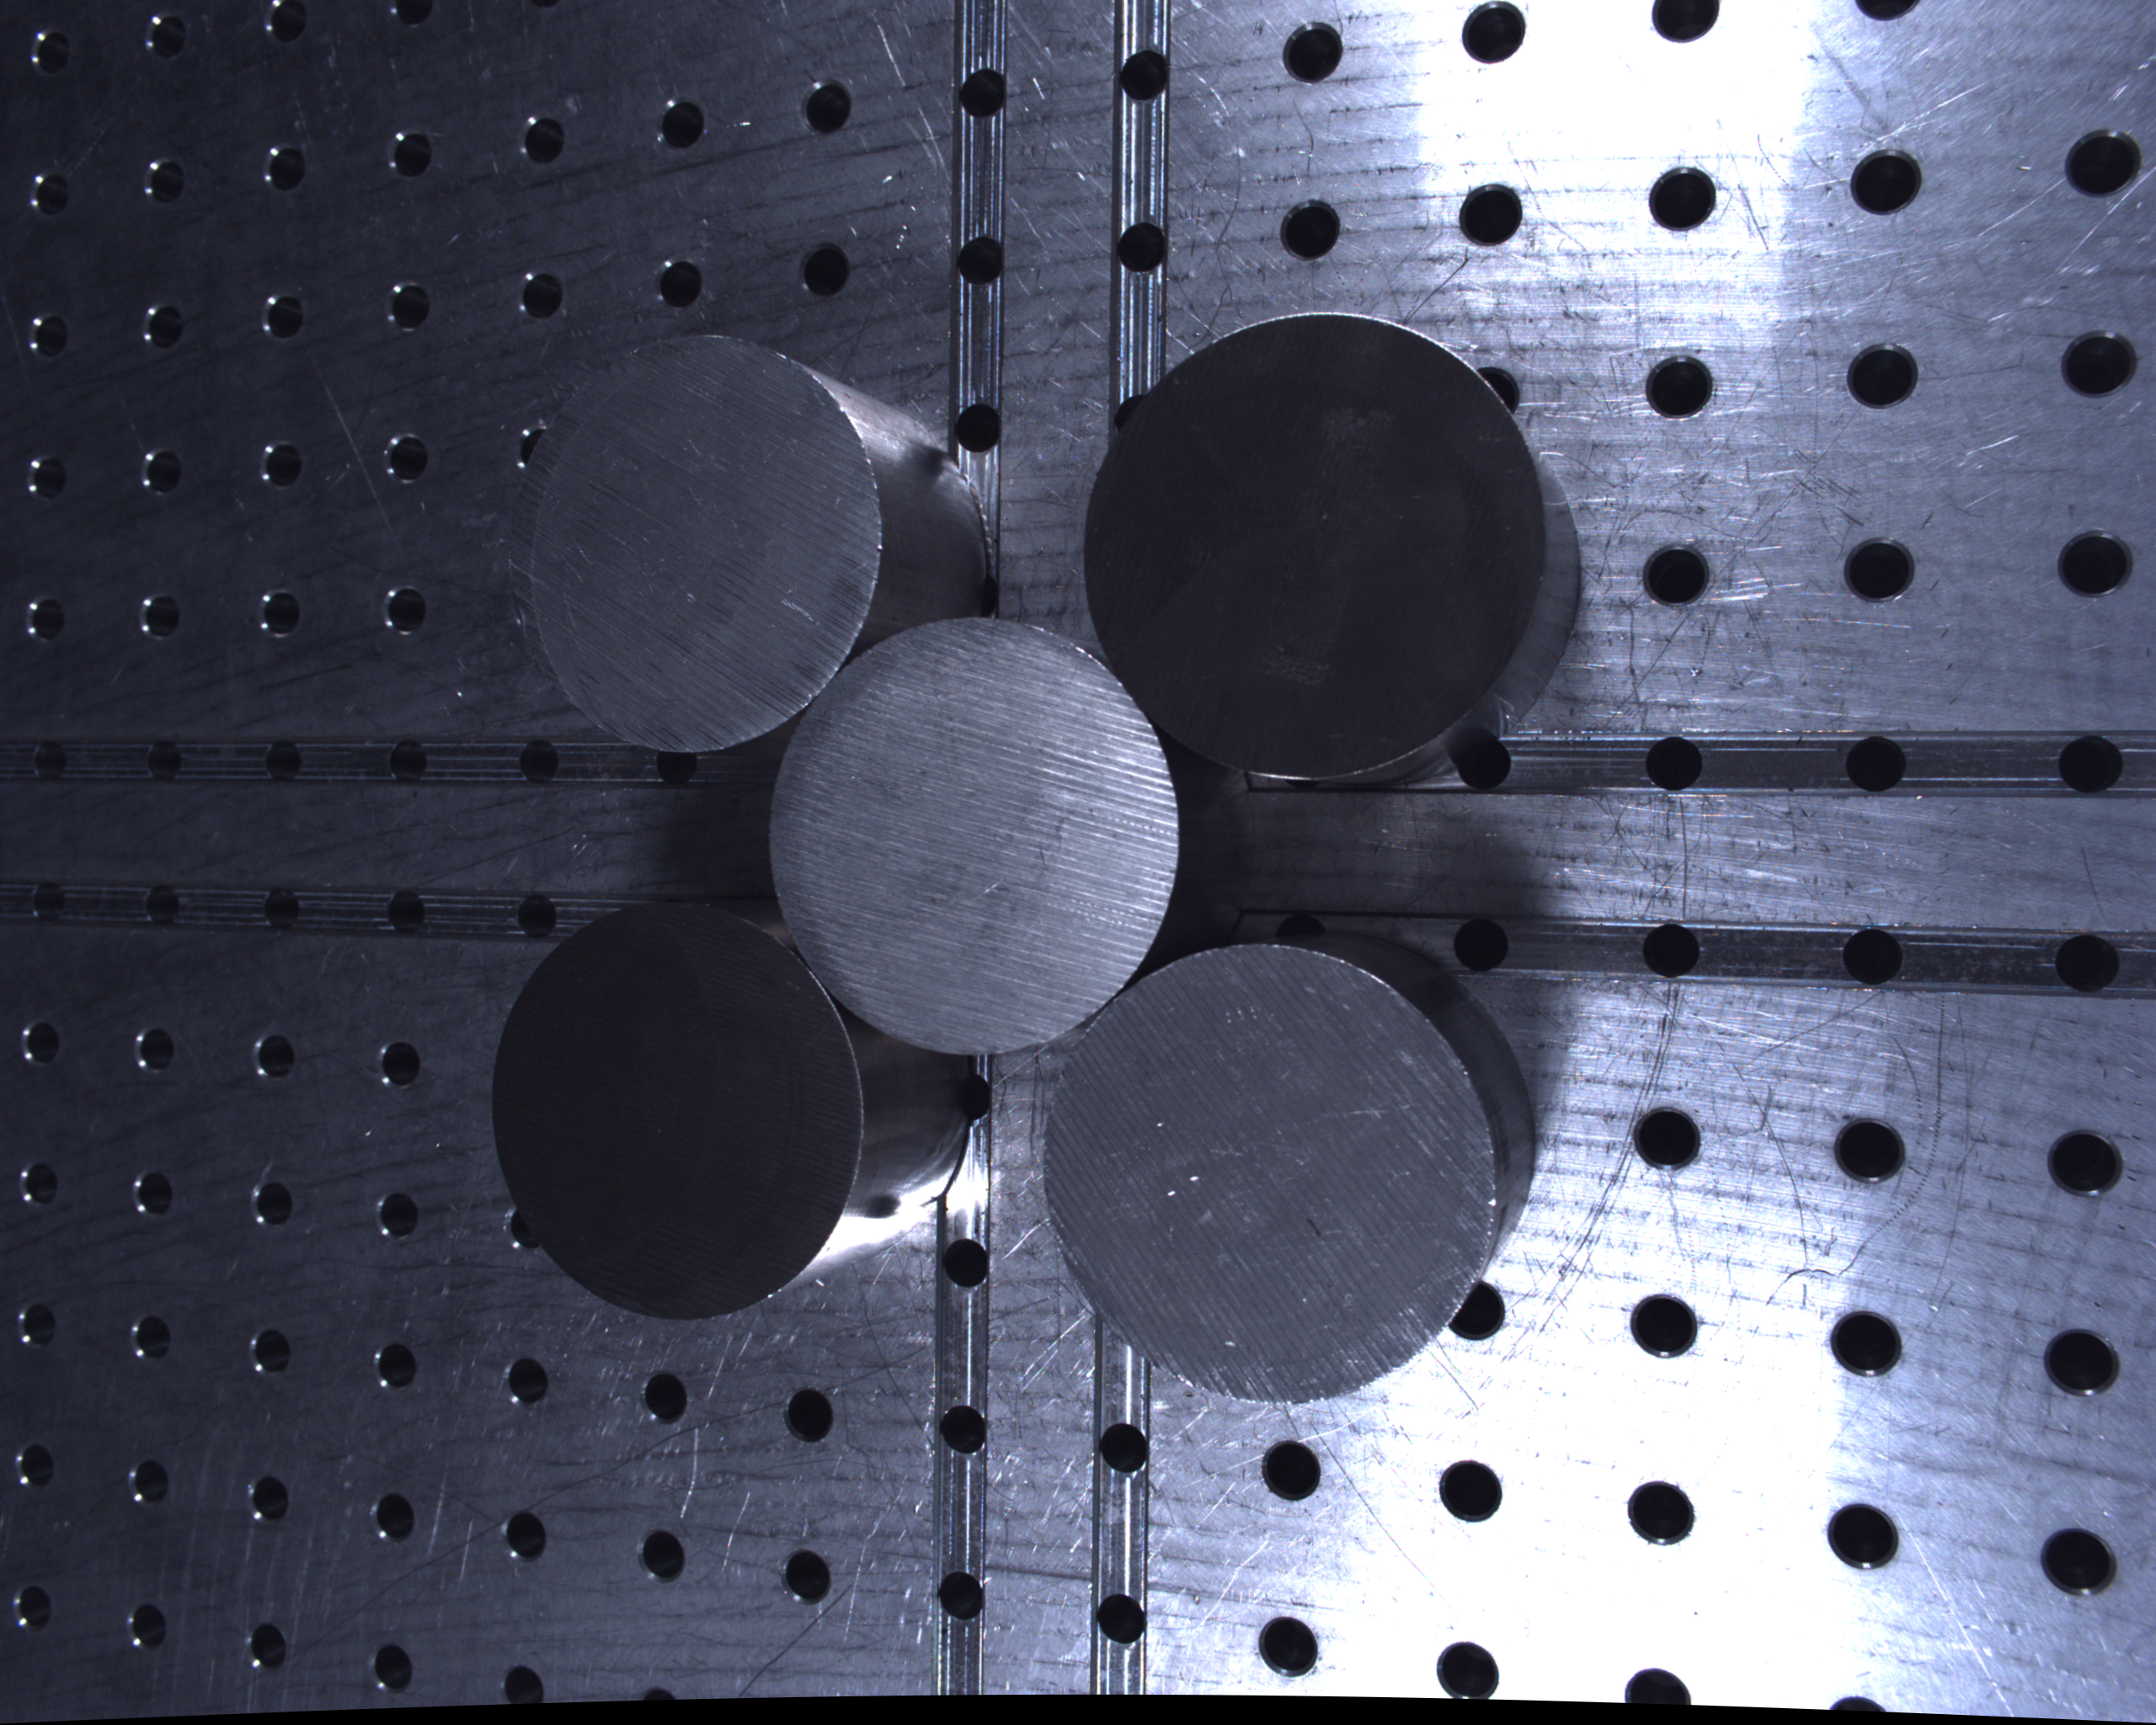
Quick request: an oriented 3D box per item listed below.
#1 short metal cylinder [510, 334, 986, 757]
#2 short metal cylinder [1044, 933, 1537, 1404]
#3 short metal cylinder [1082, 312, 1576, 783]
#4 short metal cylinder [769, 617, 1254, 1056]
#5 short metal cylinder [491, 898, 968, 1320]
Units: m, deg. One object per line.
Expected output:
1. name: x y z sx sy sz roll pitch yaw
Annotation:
1. short metal cylinder: -0.065 -0.061 0.420 0.080 0.050 0.079 0 90 19
2. short metal cylinder: 0.040 0.053 0.384 0.080 0.050 0.079 0 90 19
3. short metal cylinder: 0.047 -0.054 0.380 0.080 0.050 0.079 0 90 19
4. short metal cylinder: -0.012 -0.005 0.402 0.080 0.050 0.079 0 90 19
5. short metal cylinder: -0.069 0.047 0.421 0.080 0.050 0.079 0 90 19
